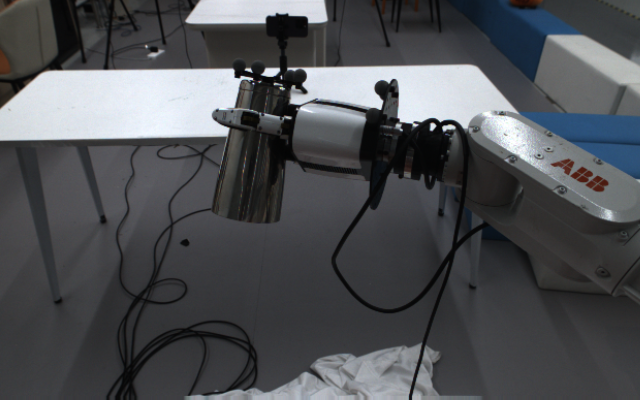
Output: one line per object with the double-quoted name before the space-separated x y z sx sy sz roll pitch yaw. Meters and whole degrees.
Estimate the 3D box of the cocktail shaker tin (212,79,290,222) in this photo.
"cocktail shaker tin" -0.080 -0.066 0.629 0.093 0.170 0.093 10 9 -2
